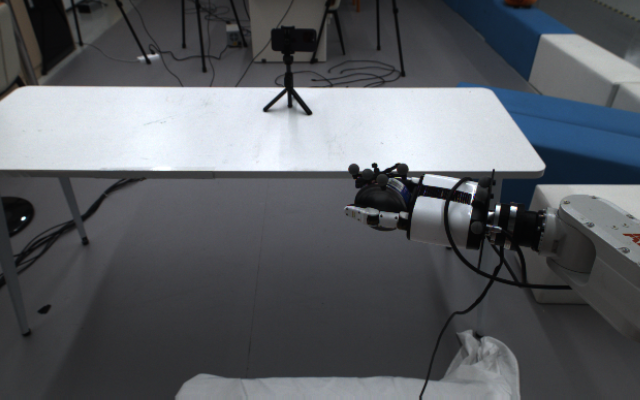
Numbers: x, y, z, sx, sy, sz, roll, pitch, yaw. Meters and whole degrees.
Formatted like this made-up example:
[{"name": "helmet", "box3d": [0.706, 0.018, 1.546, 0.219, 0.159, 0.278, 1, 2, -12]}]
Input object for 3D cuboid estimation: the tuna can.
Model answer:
[{"name": "tuna can", "box3d": [0.101, 0.003, 0.762, 0.085, 0.085, 0.034, 17, 37, 20]}]
